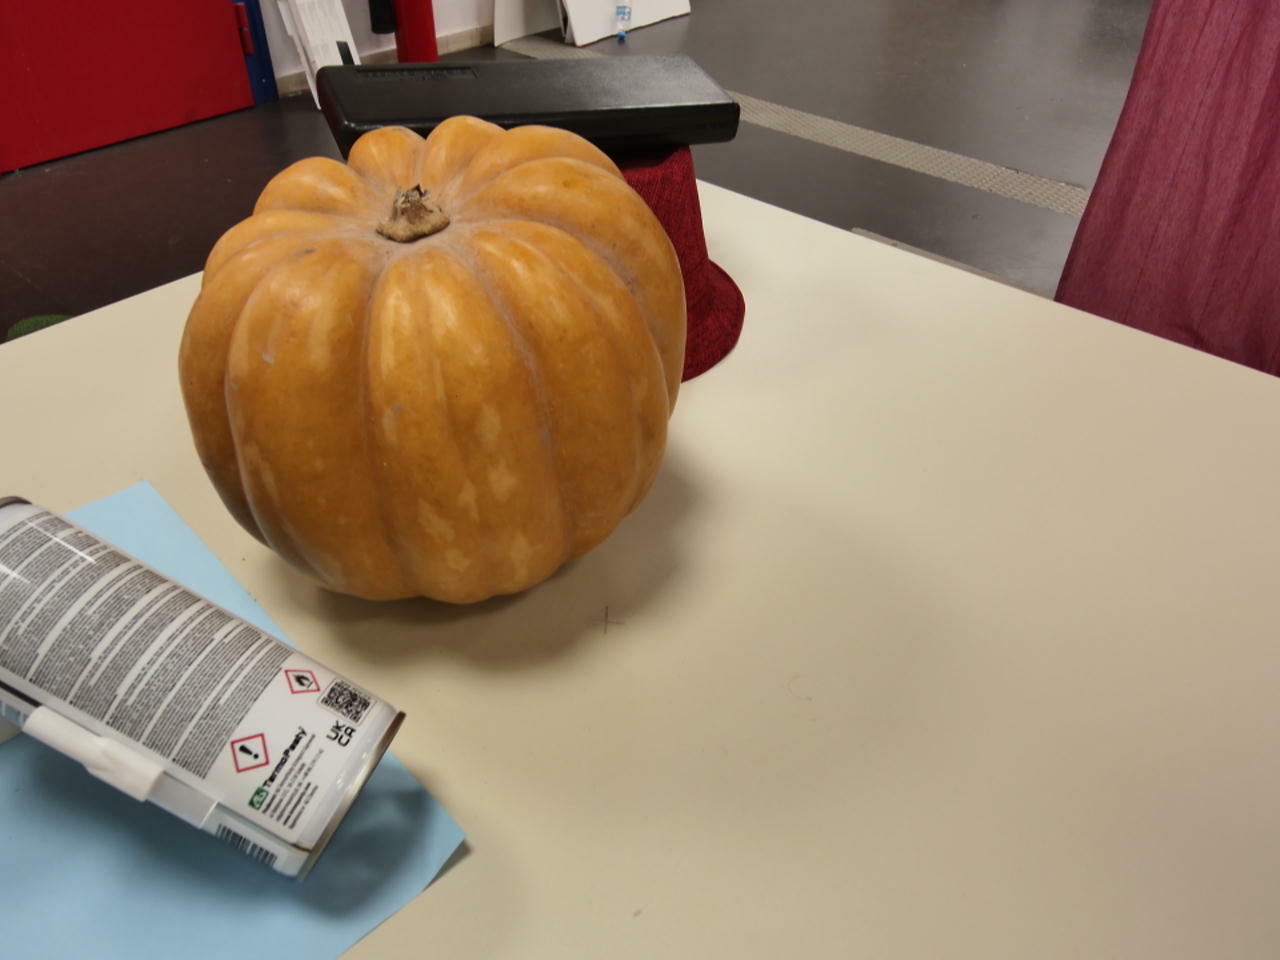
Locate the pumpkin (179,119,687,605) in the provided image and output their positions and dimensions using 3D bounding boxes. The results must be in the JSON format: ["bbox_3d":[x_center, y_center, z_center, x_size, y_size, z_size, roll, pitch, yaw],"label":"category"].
[{"bbox_3d":[-0.088,-0.052,0.459,0.230,0.194,0.230,1,38,0],"label":"pumpkin"}]
